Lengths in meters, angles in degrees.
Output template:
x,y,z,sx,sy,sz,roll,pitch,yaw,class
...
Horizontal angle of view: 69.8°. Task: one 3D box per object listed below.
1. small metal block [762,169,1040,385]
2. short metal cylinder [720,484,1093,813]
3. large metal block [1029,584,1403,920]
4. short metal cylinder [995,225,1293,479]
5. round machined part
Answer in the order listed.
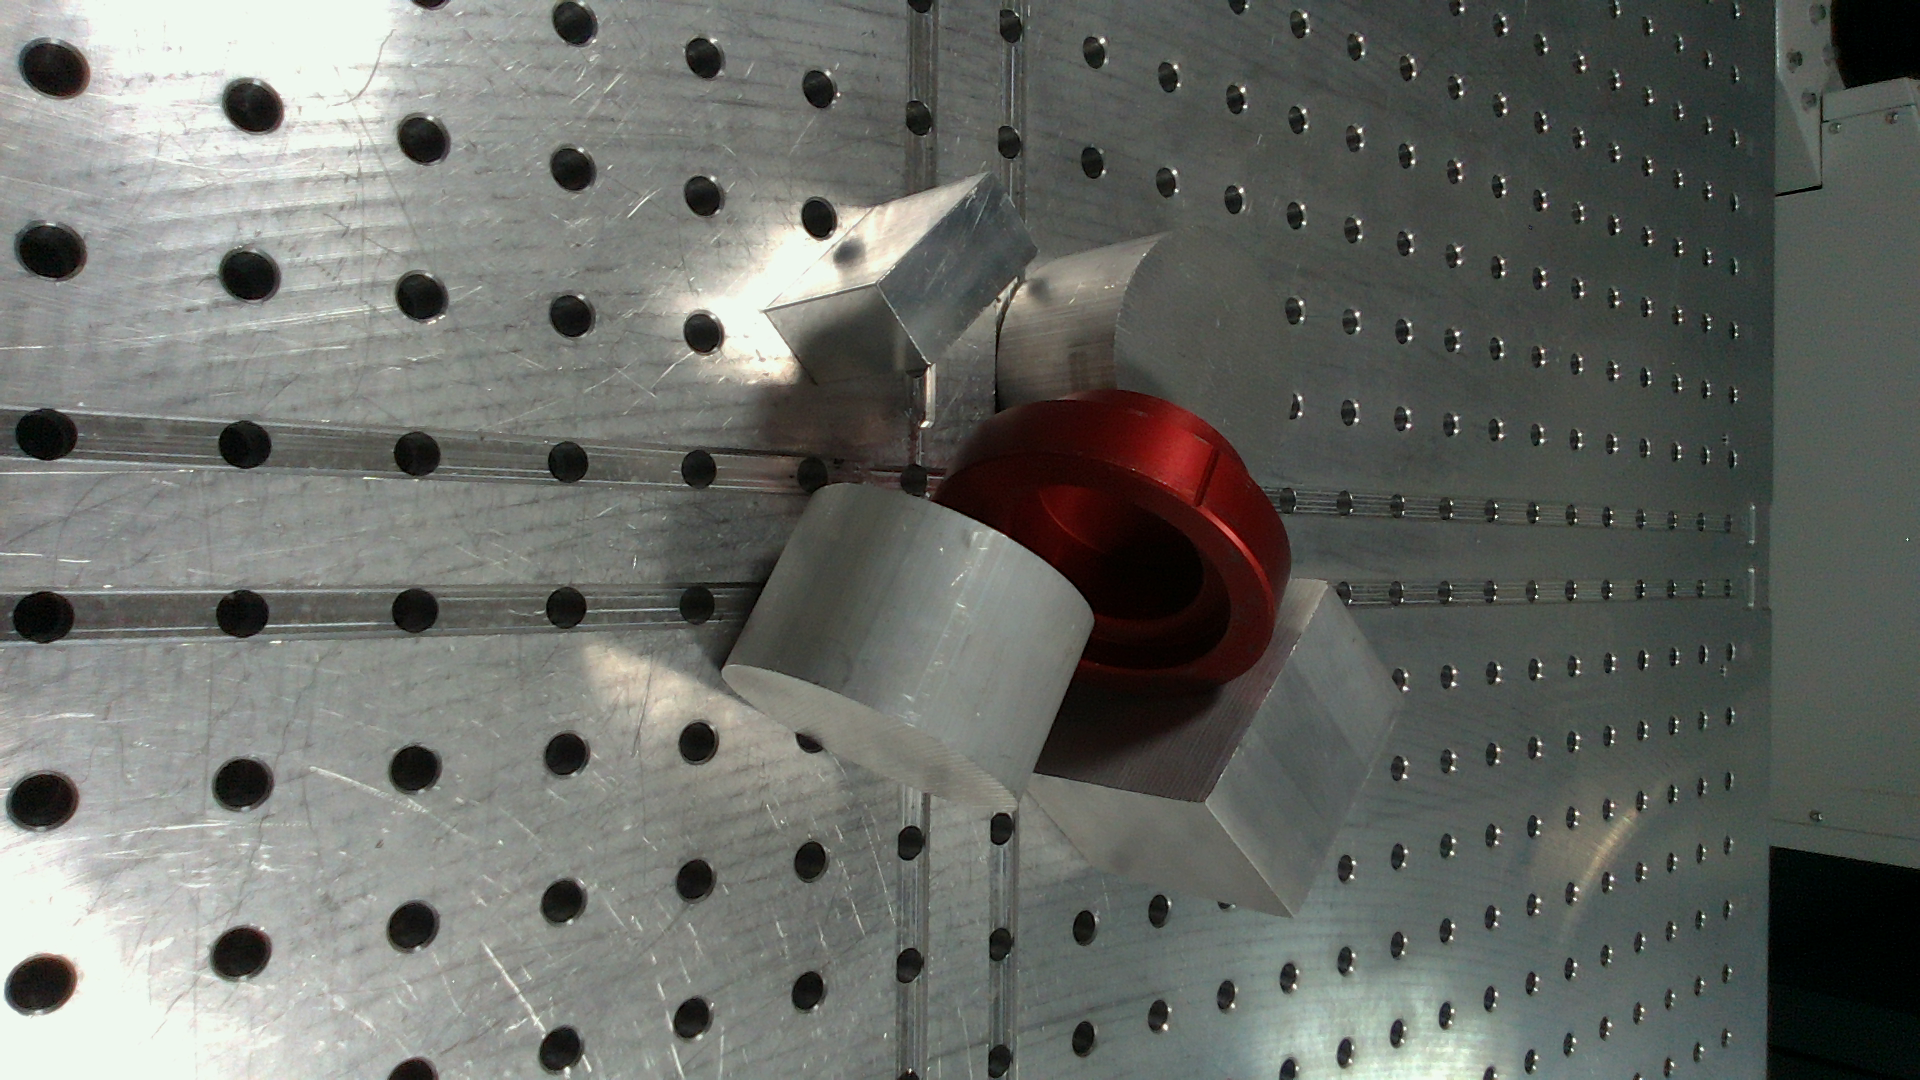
x,y,z,sx,sy,sz,roll,pitch,yaw,class
-0.016,-0.068,0.362,0.050,0.050,0.025,-50,119,-28,small metal block
-0.013,0.028,0.345,0.080,0.080,0.050,38,67,-33,short metal cylinder
0.074,0.059,0.418,0.050,0.080,0.080,51,60,-28,large metal block
0.057,-0.052,0.423,0.080,0.050,0.080,0,90,-40,short metal cylinder
0.043,-0.003,0.381,0.098,0.098,0.042,49,49,-29,round machined part
